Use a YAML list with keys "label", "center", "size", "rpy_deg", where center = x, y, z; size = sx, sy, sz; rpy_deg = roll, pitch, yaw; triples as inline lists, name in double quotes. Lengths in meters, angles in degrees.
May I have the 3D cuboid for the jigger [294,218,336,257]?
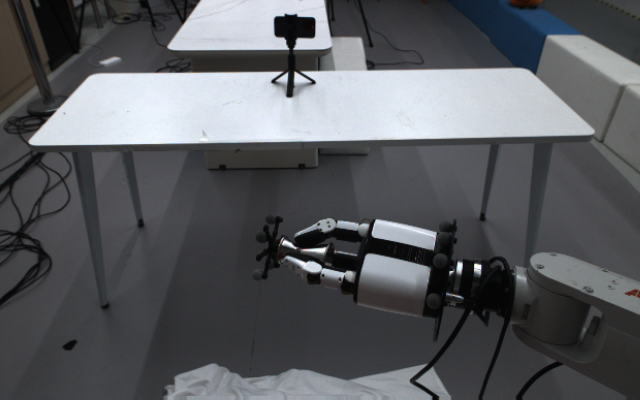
- label: "jigger"
  center: [-0.013, 0.071, 0.659]
  size: [0.071, 0.043, 0.043]
  rpy_deg: [9, 35, 17]
